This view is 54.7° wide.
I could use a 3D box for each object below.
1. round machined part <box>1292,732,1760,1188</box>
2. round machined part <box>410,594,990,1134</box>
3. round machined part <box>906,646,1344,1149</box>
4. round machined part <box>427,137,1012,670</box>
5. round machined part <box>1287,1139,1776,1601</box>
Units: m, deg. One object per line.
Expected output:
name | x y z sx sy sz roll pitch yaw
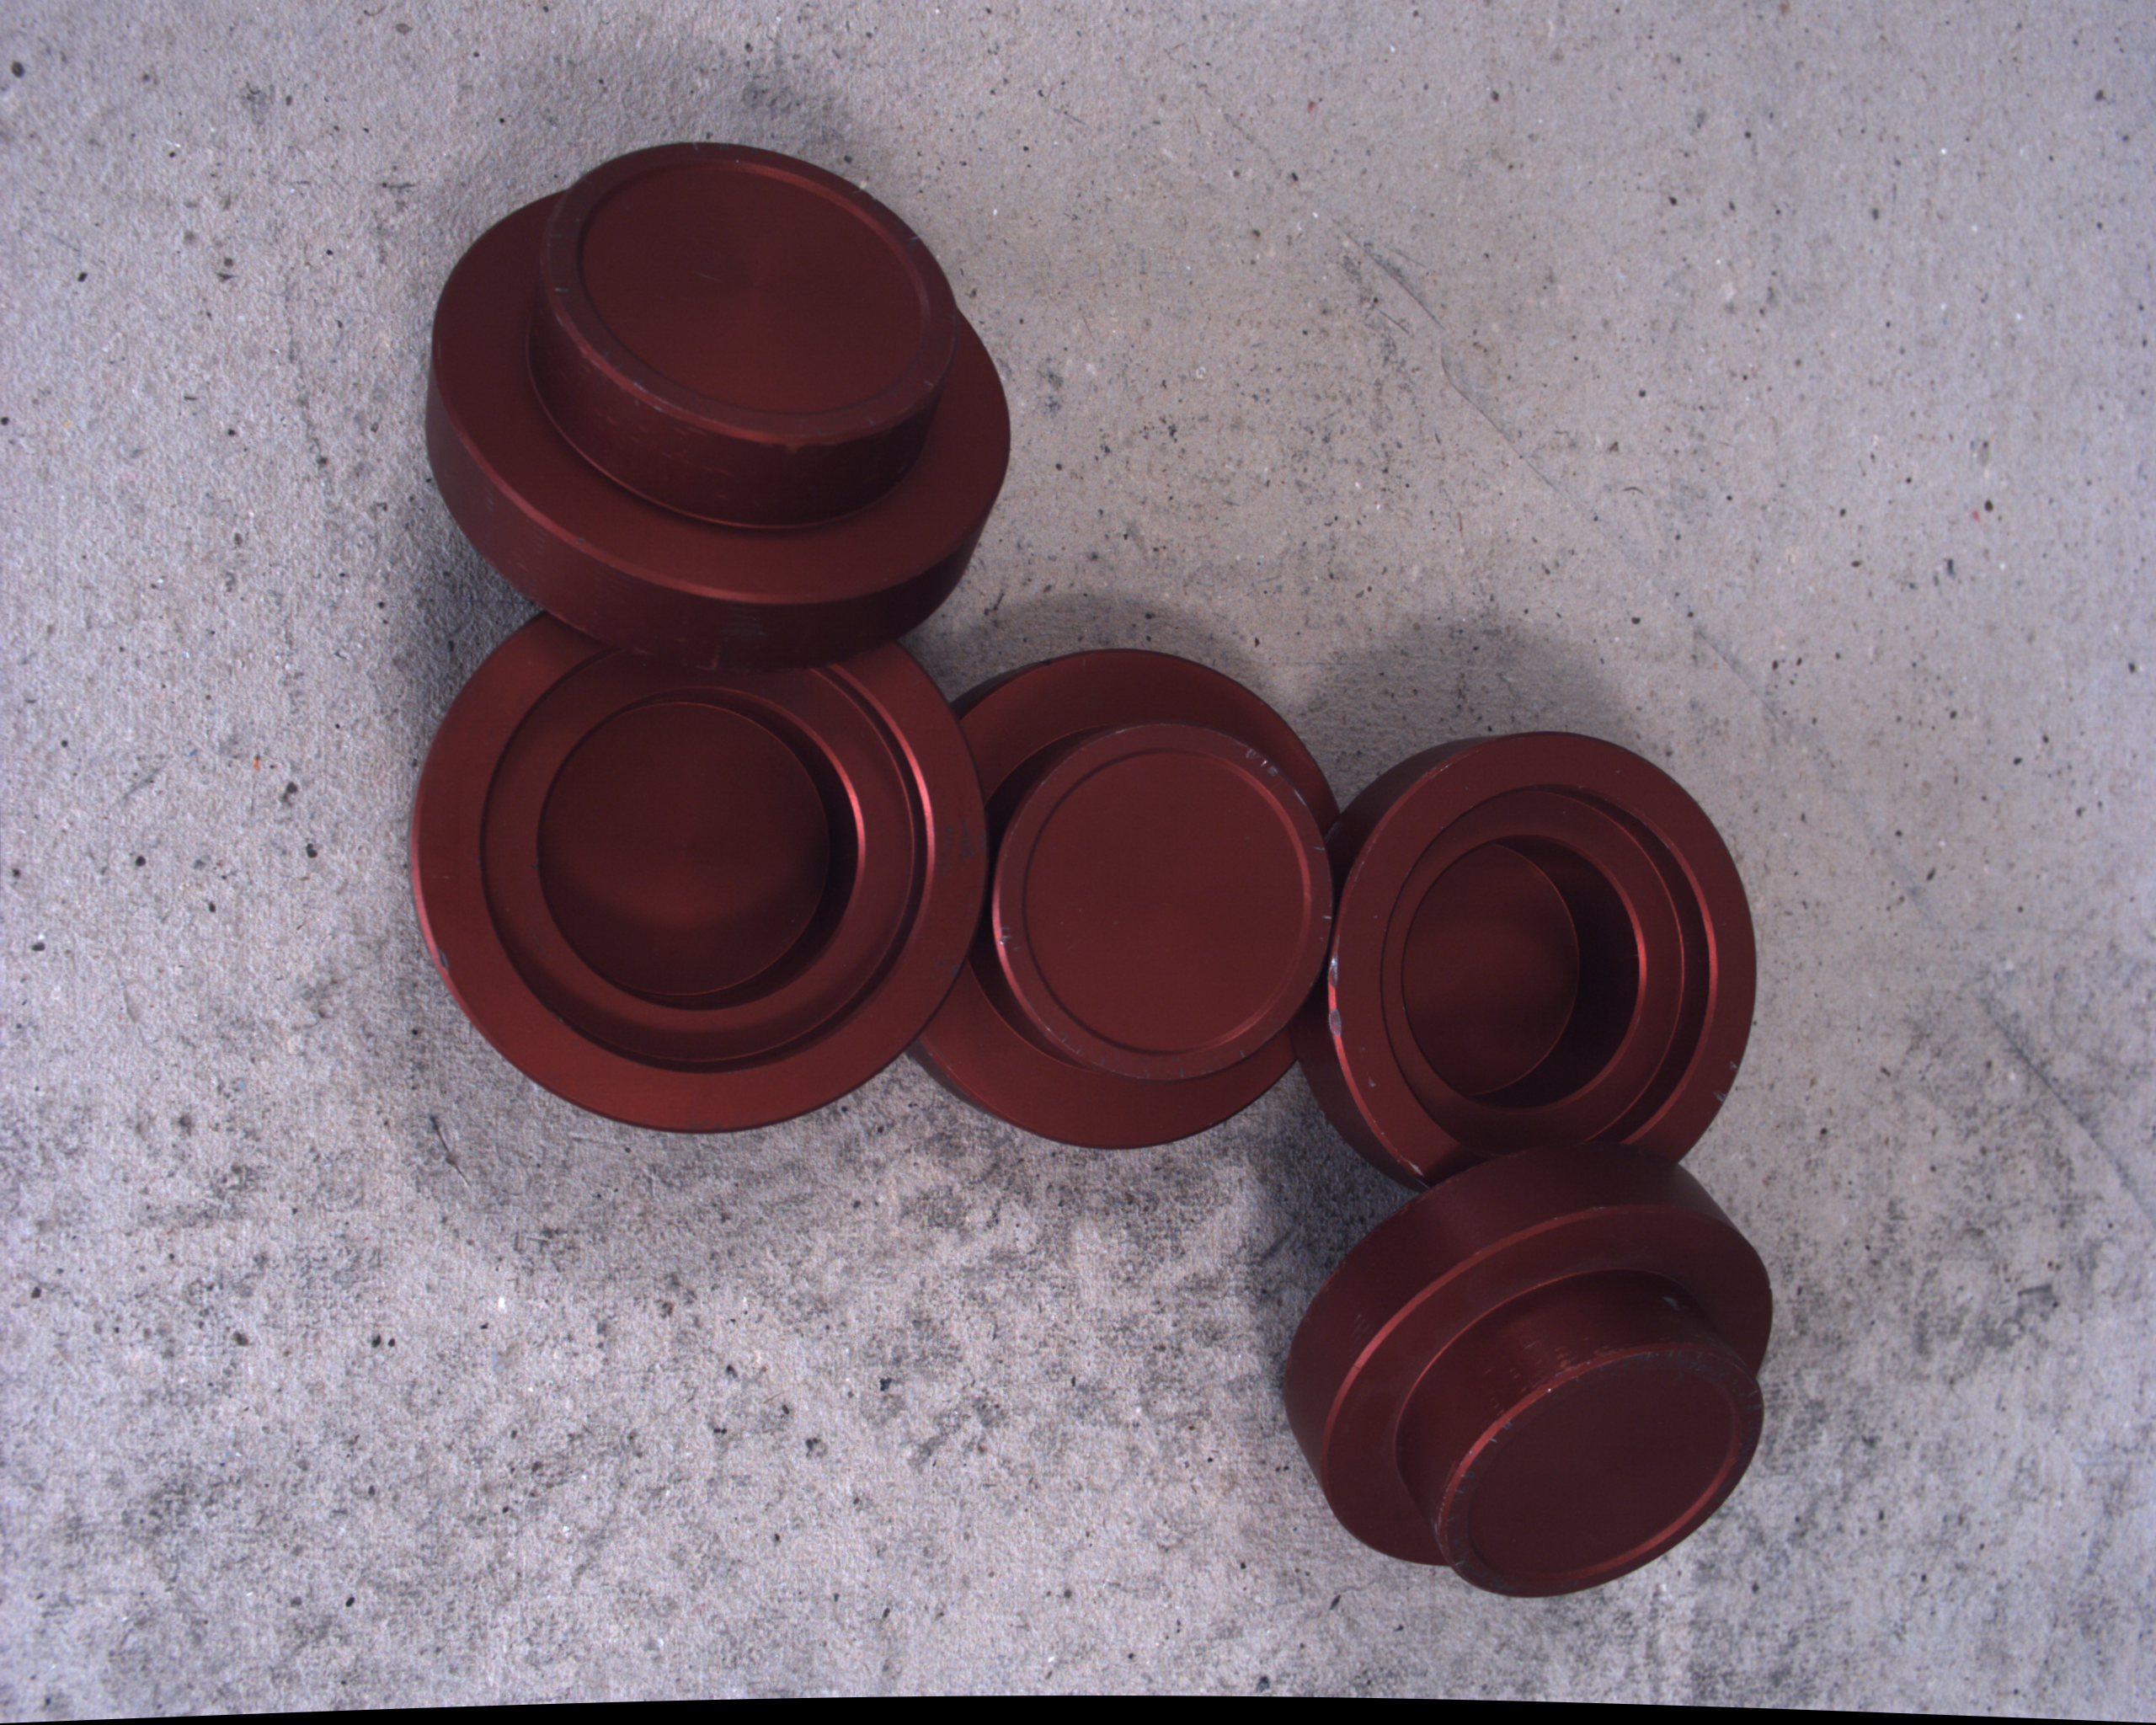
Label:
round machined part | 0.088 0.023 0.433 0.099 0.042 0.097 0 91 -19
round machined part | -0.069 -0.003 0.375 0.099 0.042 0.097 0 91 -19
round machined part | 0.010 0.007 0.403 0.099 0.042 0.097 1 88 -19
round machined part | -0.058 -0.084 0.356 0.099 0.042 0.098 10 56 -15
round machined part | 0.095 0.106 0.412 0.099 0.042 0.097 -9 122 -15
